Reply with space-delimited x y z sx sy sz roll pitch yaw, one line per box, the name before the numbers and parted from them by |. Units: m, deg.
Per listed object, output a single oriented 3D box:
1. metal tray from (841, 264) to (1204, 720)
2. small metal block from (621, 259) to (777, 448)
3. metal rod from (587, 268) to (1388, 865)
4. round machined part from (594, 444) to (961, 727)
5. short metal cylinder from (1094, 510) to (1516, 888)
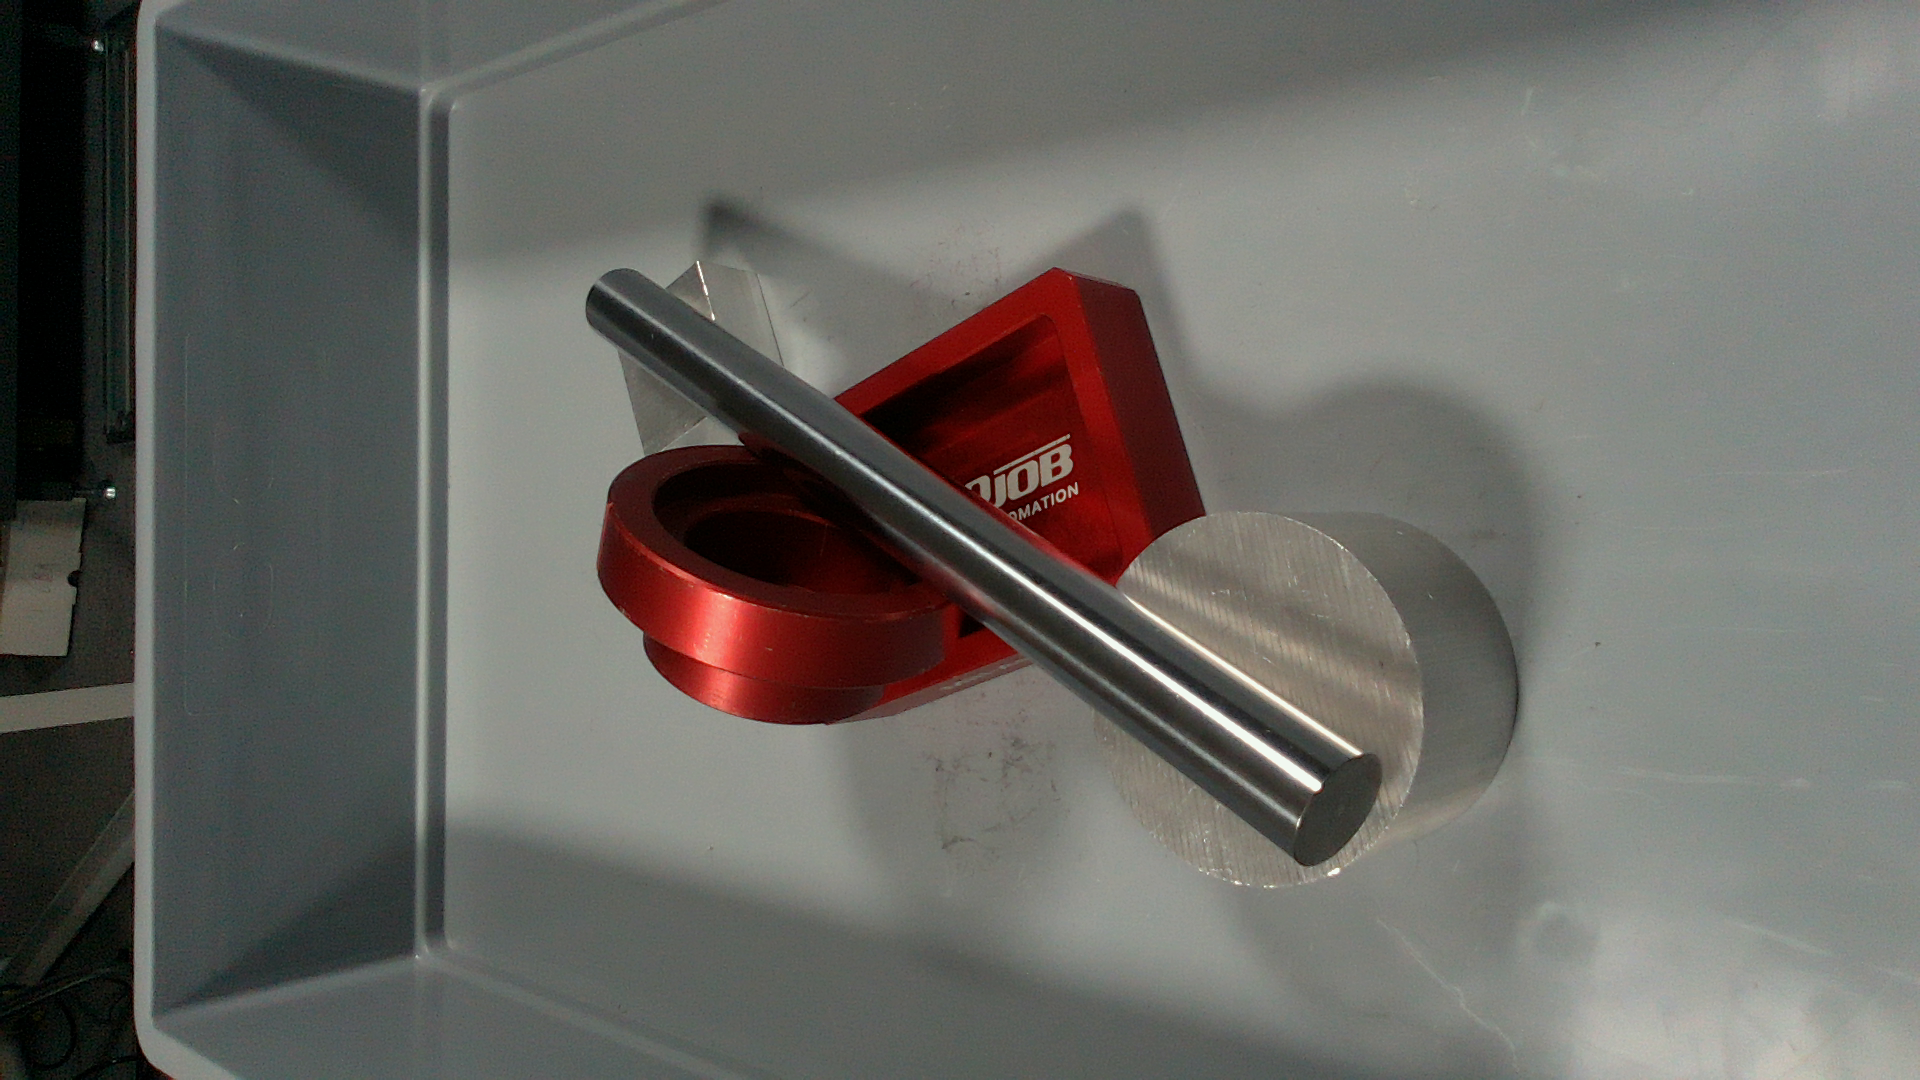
metal tray | 0.001 -0.008 0.388 0.129 0.030 0.090 -25 74 37
small metal block | -0.088 -0.059 0.467 0.050 0.025 0.050 -28 72 37
metal rod | -0.020 -0.014 0.356 0.299 0.025 0.025 35 112 42
round machined part | -0.049 0.014 0.369 0.098 0.098 0.042 34 119 35
short metal cylinder | 0.077 0.034 0.312 0.080 0.050 0.080 0 90 40
